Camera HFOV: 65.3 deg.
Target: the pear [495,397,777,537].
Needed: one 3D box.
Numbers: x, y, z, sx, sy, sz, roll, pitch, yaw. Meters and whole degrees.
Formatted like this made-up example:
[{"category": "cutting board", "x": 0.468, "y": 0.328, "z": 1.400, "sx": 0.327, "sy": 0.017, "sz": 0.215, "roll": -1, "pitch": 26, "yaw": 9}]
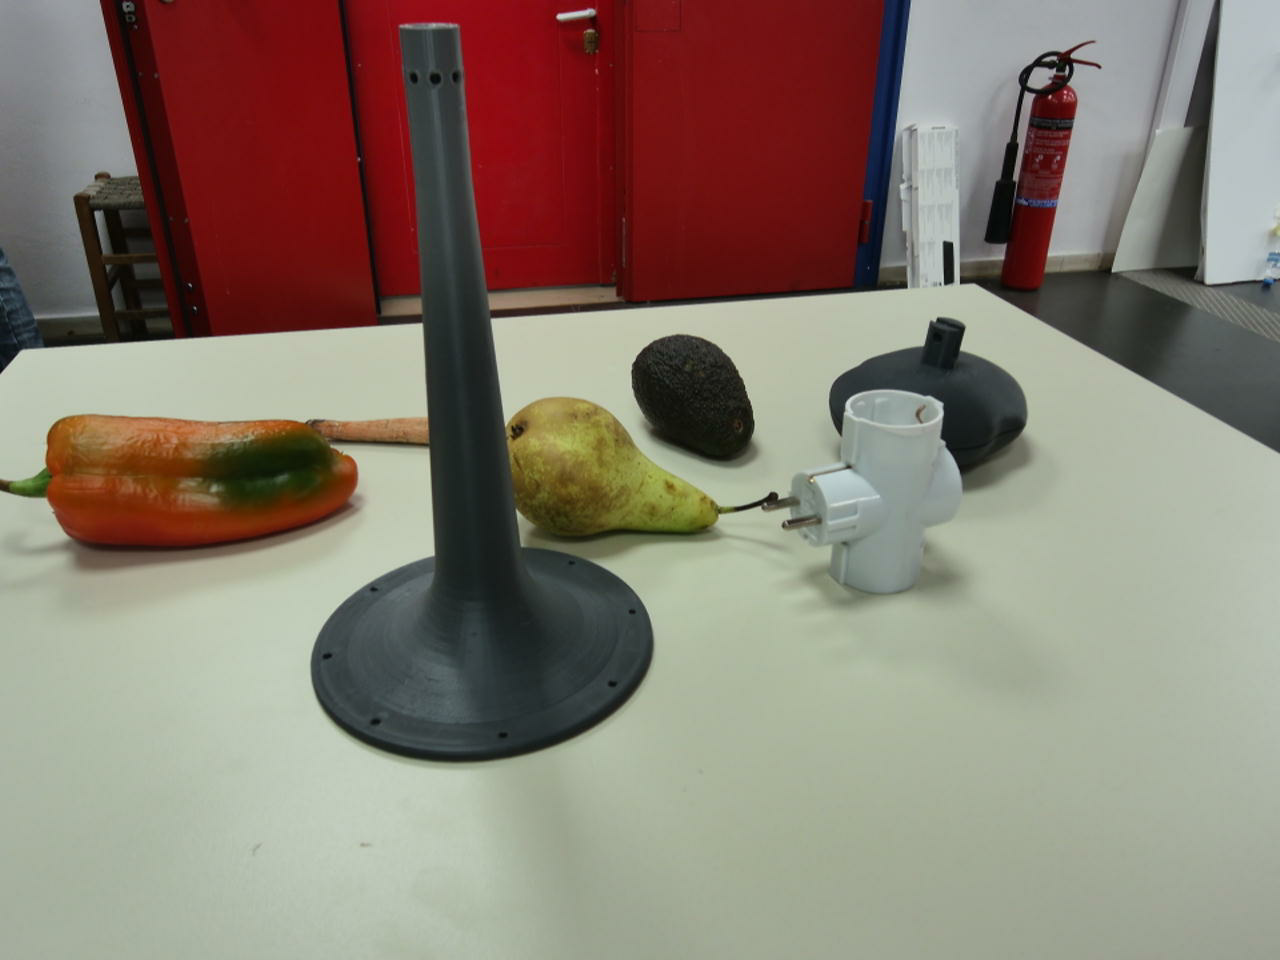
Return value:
[{"category": "pear", "x": -0.004, "y": -0.009, "z": 0.531, "sx": 0.144, "sy": 0.075, "sz": 0.071, "roll": -3, "pitch": 26, "yaw": -5}]
